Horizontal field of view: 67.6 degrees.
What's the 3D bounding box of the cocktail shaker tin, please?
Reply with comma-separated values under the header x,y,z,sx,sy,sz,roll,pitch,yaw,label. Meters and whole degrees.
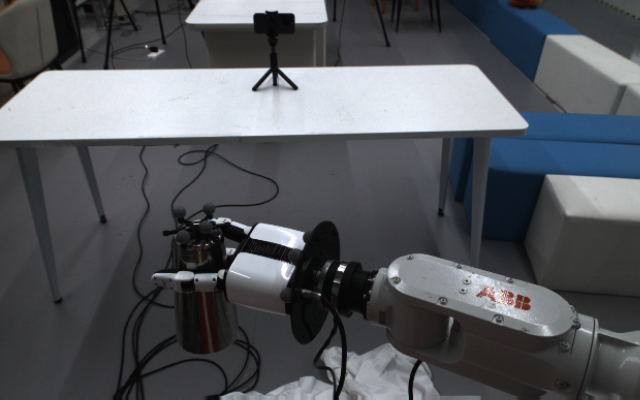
x,y,z,sx,sy,sz,roll,pitch,yaw,label
-0.164,0.122,0.688,0.093,0.170,0.093,1,26,-1,cocktail shaker tin
